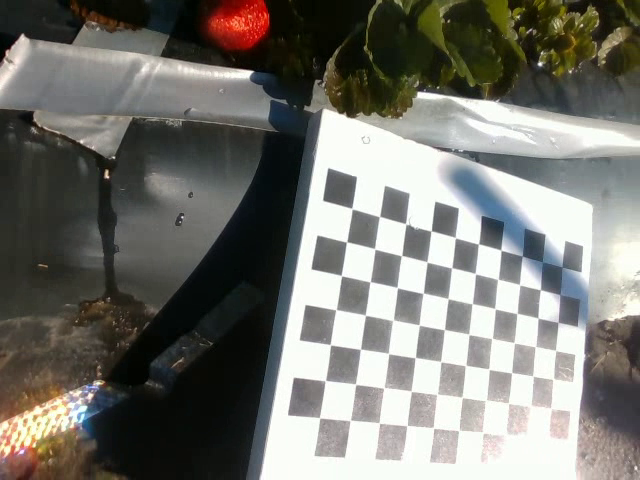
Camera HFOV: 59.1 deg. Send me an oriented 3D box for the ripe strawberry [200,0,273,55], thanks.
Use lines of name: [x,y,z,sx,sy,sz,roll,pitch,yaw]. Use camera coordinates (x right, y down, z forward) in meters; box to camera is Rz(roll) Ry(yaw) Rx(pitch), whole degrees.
ripe strawberry: [-0.063,-0.151,0.395,0.057,0.062,0.065,-35,20,21]
